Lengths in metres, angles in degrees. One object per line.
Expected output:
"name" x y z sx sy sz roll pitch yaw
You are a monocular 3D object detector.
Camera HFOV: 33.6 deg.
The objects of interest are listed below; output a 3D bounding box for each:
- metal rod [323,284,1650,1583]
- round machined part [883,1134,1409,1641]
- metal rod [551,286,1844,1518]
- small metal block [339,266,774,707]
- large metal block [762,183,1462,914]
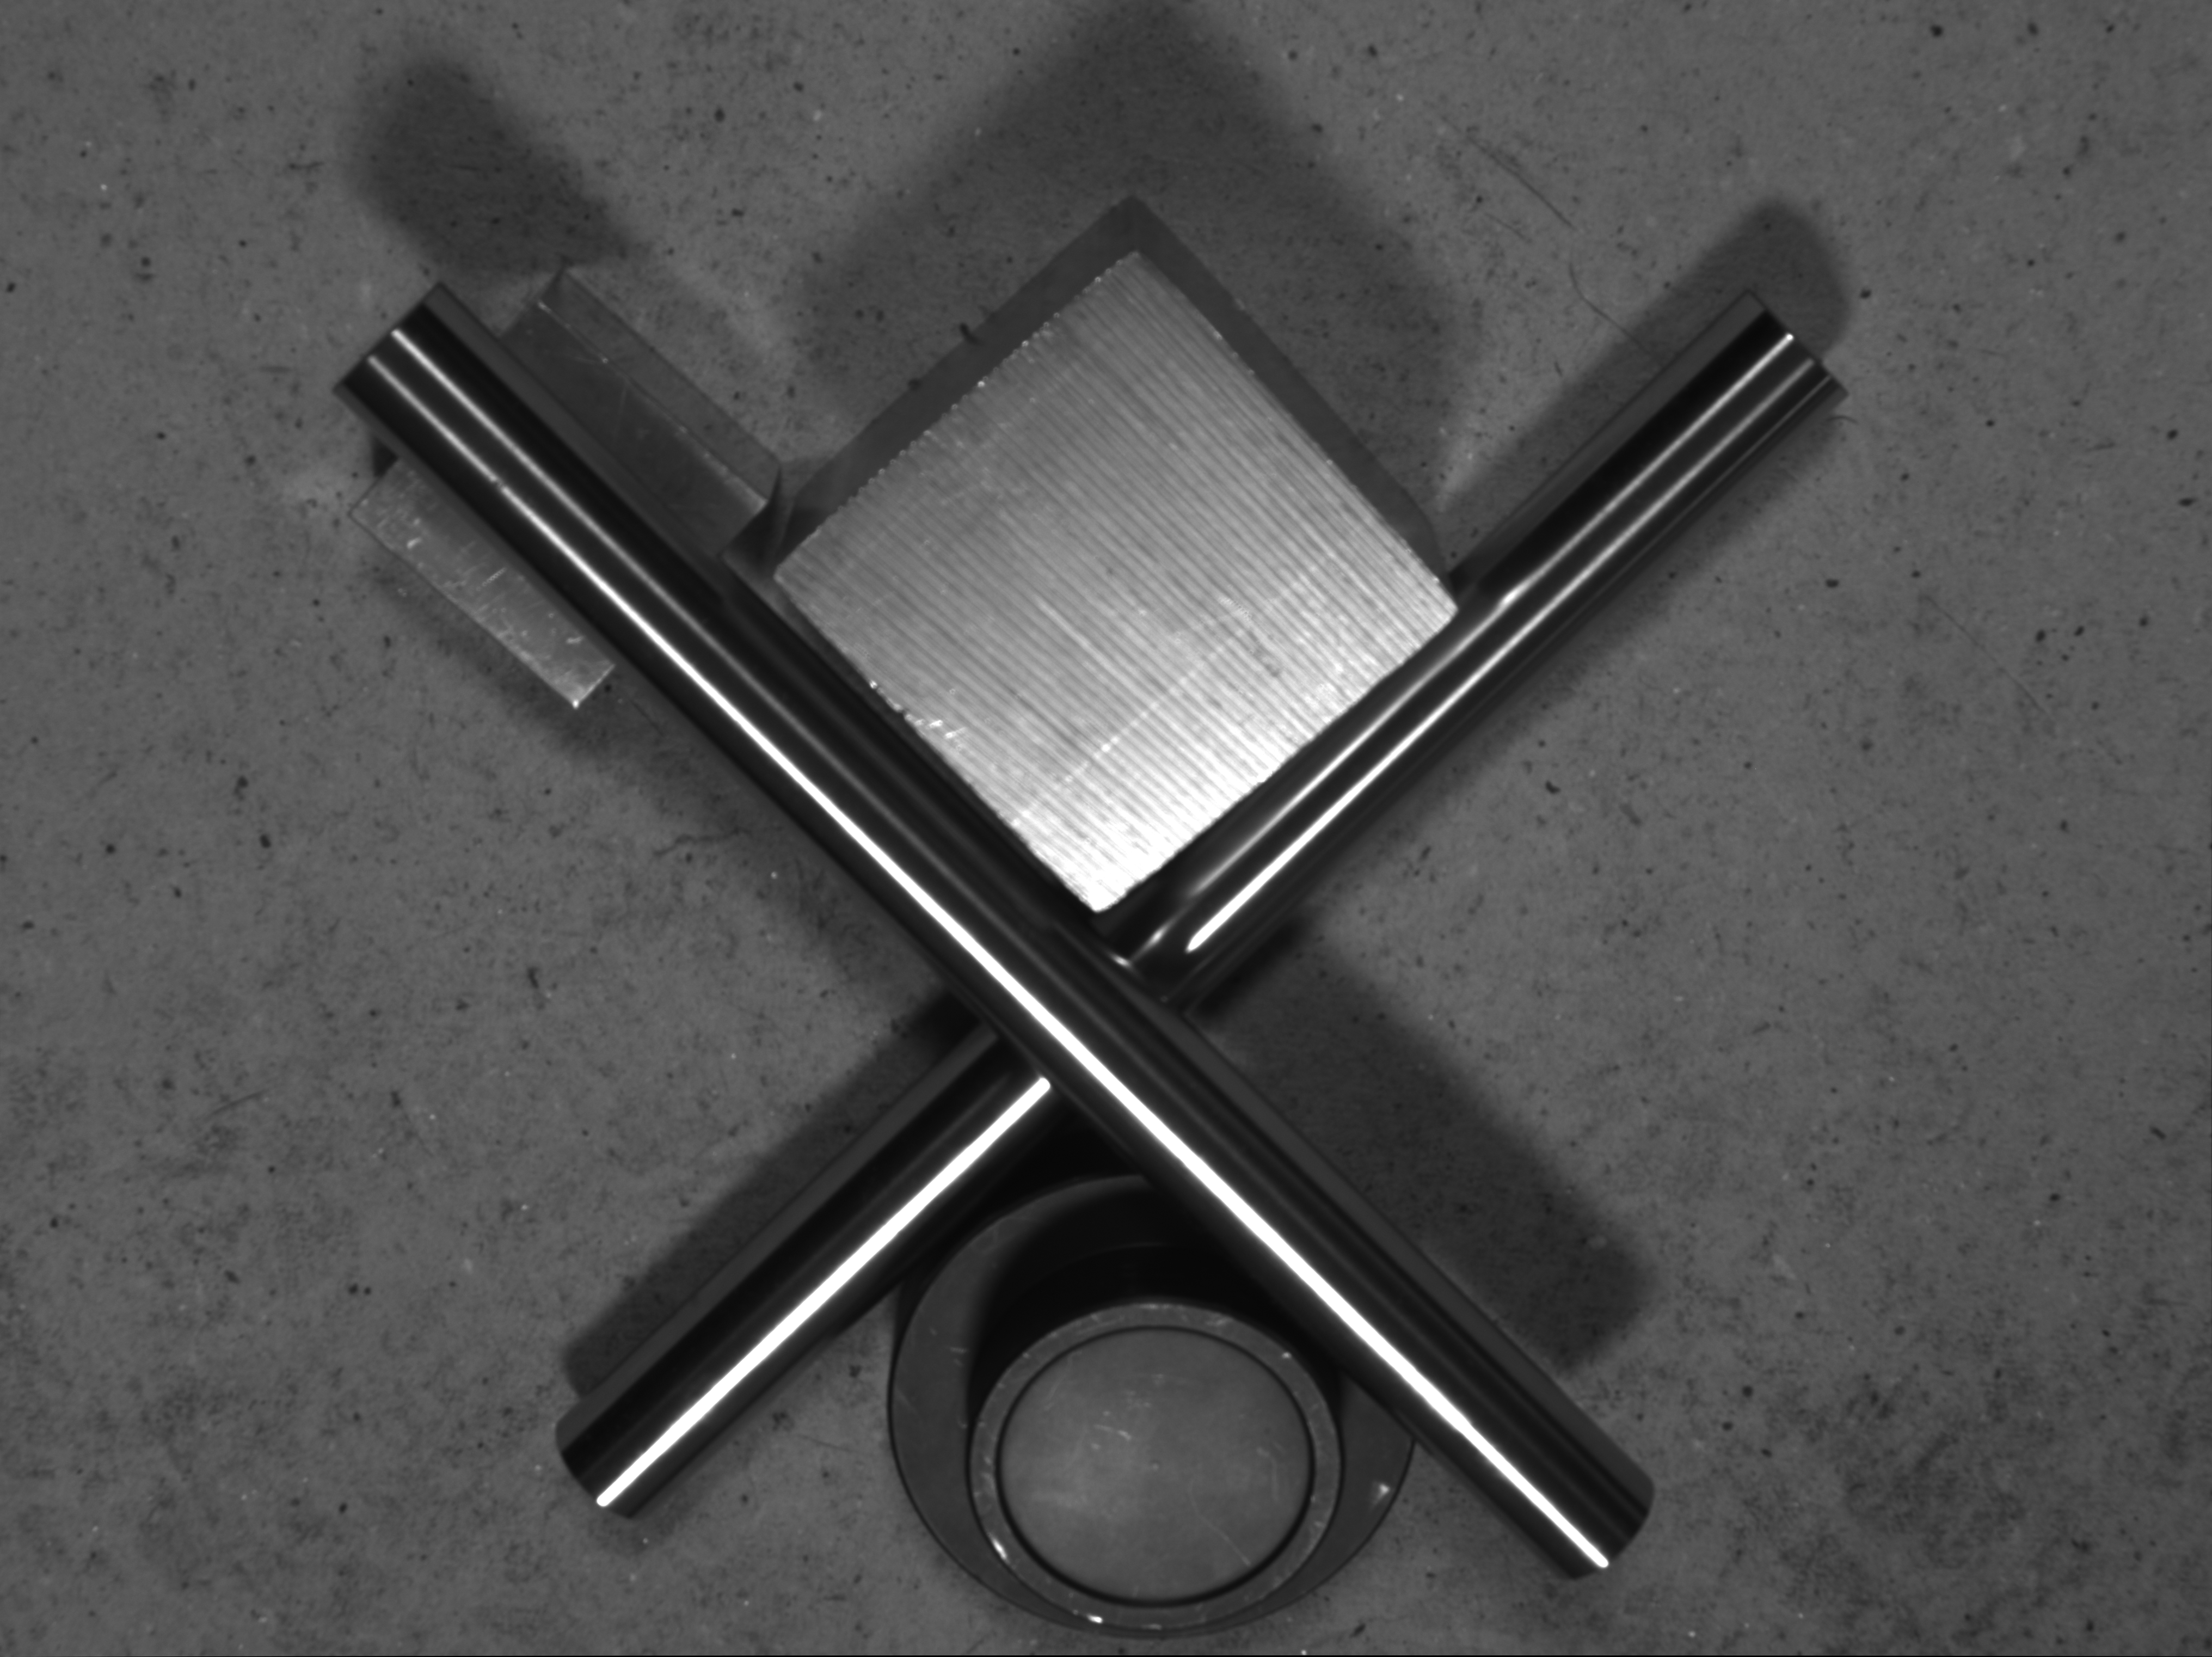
"metal rod" -0.014 0.024 0.625 0.025 0.025 0.300 -42 105 13
"round machined part" 0.008 0.108 0.673 0.098 0.042 0.098 0 110 -1
"metal rod" 0.011 0.019 0.652 0.025 0.025 0.300 43 104 -14
"small metal block" -0.093 -0.058 0.622 0.050 0.025 0.050 41 104 -14
"large metal block" 0.001 -0.047 0.614 0.080 0.050 0.080 -40 106 13
